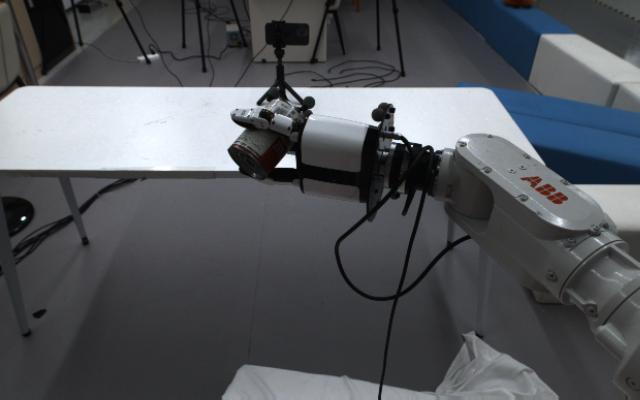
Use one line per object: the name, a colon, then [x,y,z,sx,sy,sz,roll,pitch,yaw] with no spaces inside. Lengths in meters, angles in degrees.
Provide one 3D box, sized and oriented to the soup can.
soup can: [-0.074,-0.087,0.690,0.067,0.067,0.101,25,66,30]
